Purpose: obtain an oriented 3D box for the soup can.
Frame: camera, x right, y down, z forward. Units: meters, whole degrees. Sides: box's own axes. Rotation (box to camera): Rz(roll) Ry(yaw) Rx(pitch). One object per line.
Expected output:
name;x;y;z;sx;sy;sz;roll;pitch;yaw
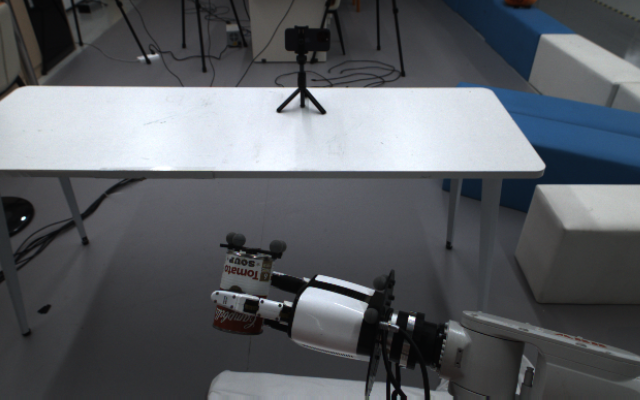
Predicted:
soup can;-0.099;0.122;0.646;0.067;0.101;0.067;9;-5;1
